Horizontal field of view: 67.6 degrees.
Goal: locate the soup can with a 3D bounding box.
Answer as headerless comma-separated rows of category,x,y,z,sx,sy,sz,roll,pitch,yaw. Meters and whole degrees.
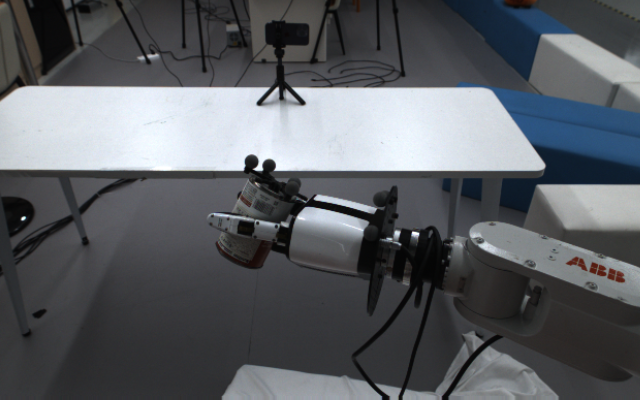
soup can,-0.080,0.028,0.616,0.067,0.101,0.067,27,10,-5
